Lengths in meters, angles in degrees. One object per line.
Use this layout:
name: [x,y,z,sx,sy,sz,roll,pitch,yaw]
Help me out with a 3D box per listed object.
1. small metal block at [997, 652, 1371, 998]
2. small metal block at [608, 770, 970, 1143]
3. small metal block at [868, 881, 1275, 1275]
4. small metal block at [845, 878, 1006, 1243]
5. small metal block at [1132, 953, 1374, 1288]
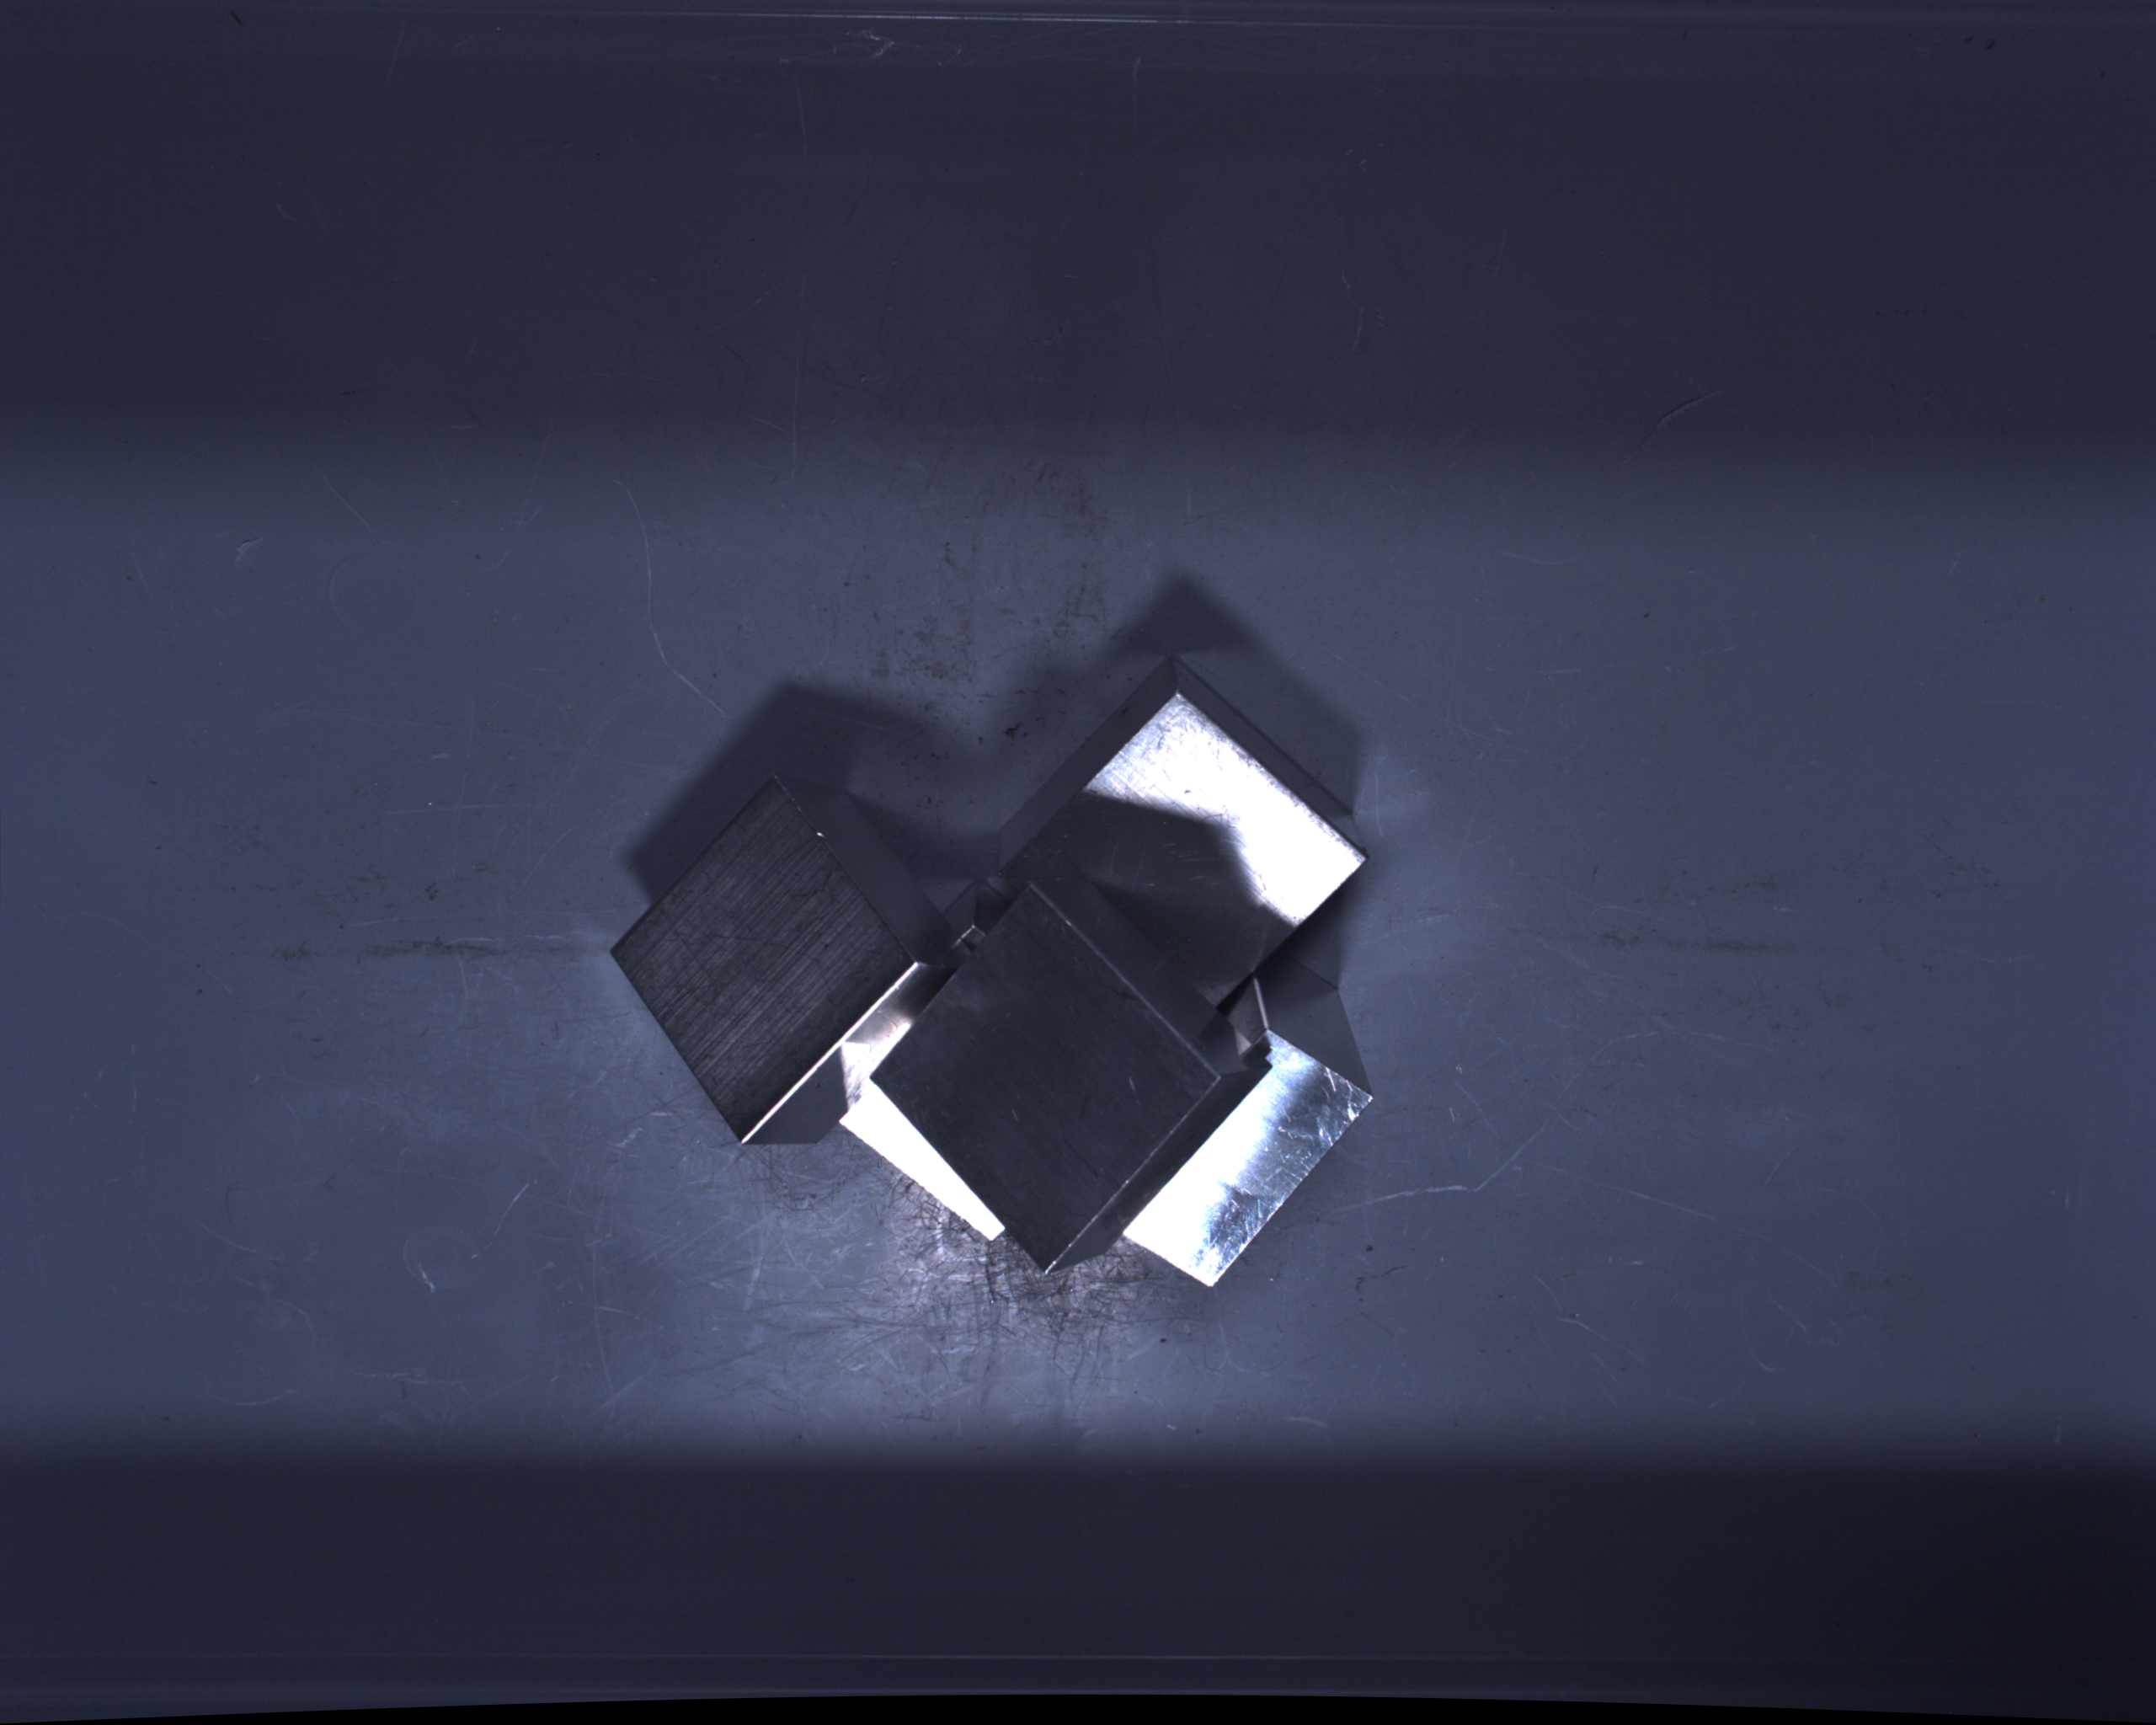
small metal block: [0.020,-0.004,0.408,0.050,0.025,0.050,40,105,-14]
small metal block: [-0.055,0.019,0.403,0.050,0.025,0.050,-46,66,15]
small metal block: [-0.002,0.039,0.384,0.050,0.025,0.050,45,106,20]
small metal block: [-0.019,0.040,0.424,0.050,0.025,0.050,40,105,-14]
small metal block: [0.030,0.047,0.414,0.025,0.050,0.050,34,106,-12]
